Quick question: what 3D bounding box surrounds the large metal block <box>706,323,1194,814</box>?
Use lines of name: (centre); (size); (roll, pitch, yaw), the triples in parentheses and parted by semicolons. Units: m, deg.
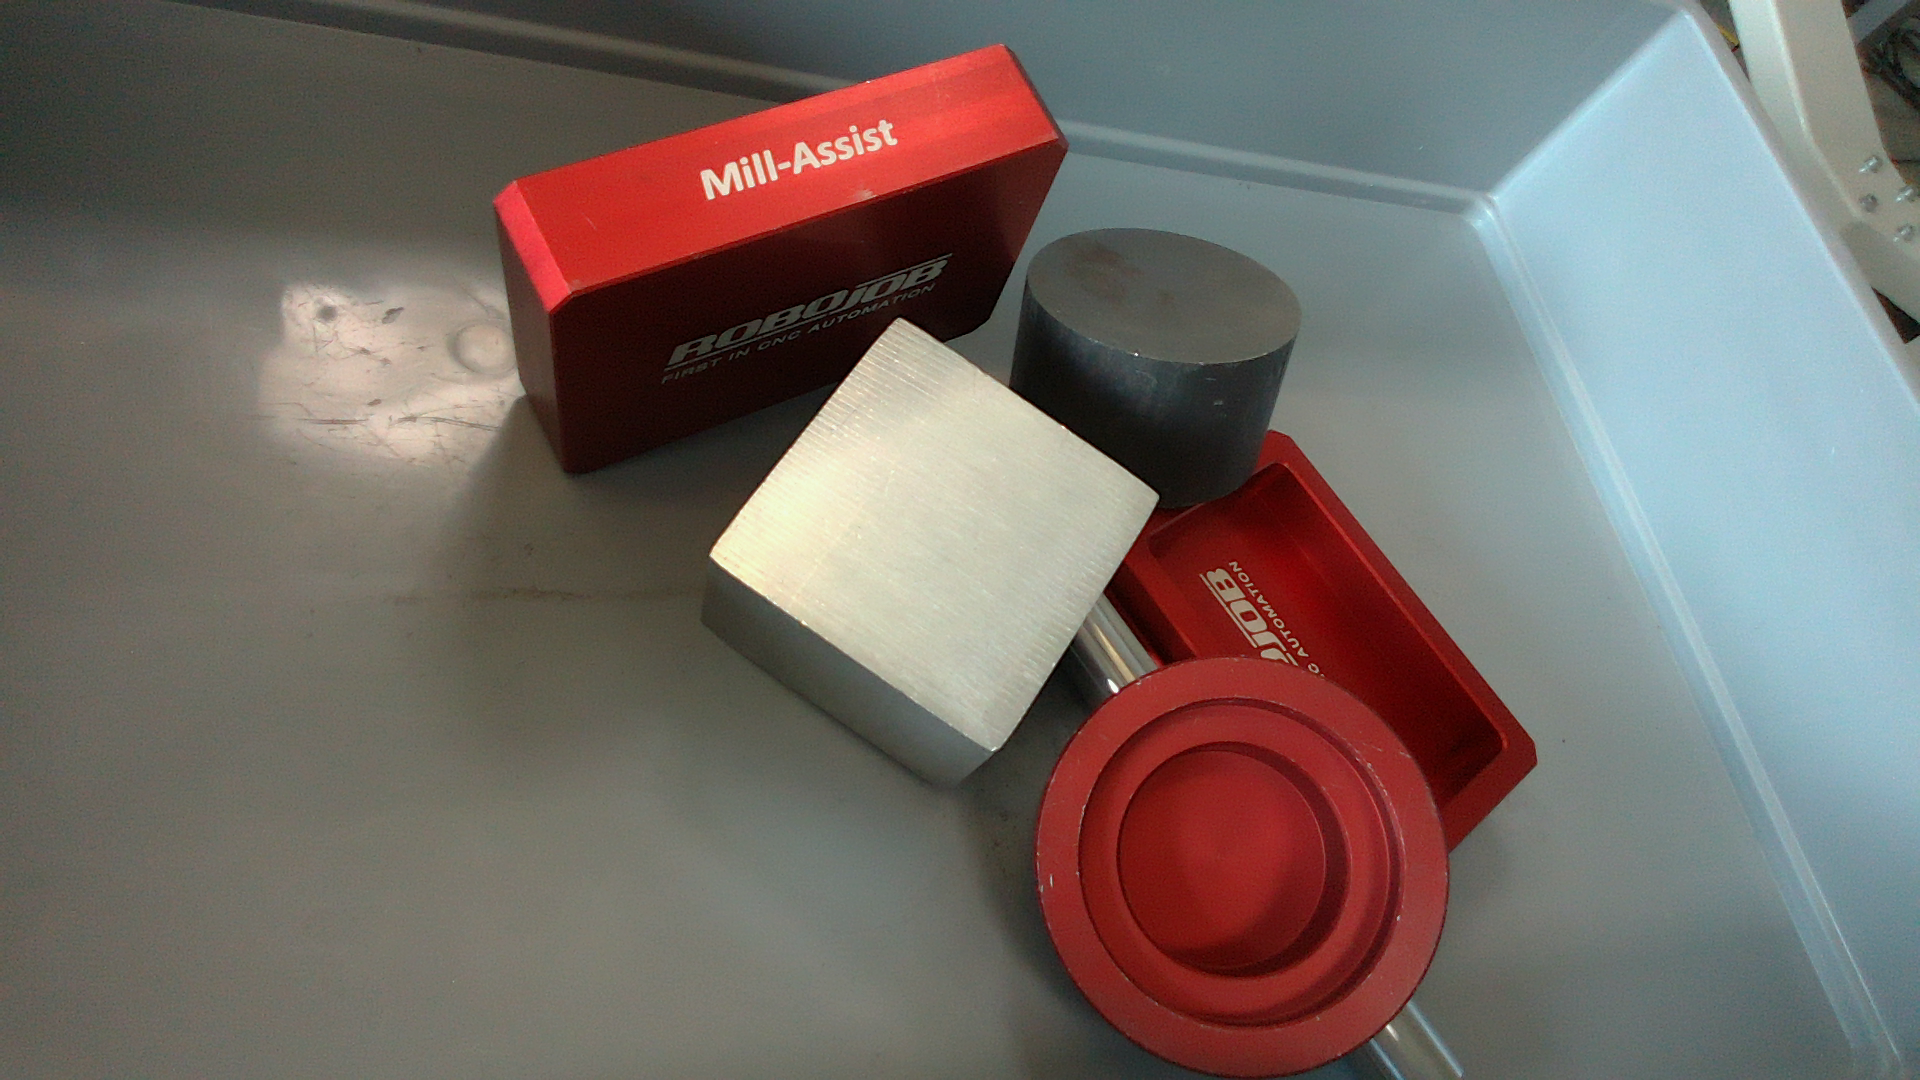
large metal block: (-0.004, 0.009, 0.341); (0.080, 0.050, 0.080); (41, 69, 0)

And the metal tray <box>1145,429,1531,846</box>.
metal tray: (0.103, 0.037, 0.418); (0.090, 0.030, 0.130); (-28, 77, -37)

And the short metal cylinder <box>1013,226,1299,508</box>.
short metal cylinder: (0.056, -0.054, 0.416); (0.080, 0.050, 0.080); (5, 38, -4)

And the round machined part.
round machined part: (0.067, 0.080, 0.346); (0.098, 0.042, 0.098); (0, 78, 1)

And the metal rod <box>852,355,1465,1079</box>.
metal rod: (0.037, 0.026, 0.391); (0.025, 0.025, 0.300); (-28, 77, -37)

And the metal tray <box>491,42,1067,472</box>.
metal tray: (-0.045, -0.069, 0.346); (0.130, 0.090, 0.030); (-23, 75, -21)
